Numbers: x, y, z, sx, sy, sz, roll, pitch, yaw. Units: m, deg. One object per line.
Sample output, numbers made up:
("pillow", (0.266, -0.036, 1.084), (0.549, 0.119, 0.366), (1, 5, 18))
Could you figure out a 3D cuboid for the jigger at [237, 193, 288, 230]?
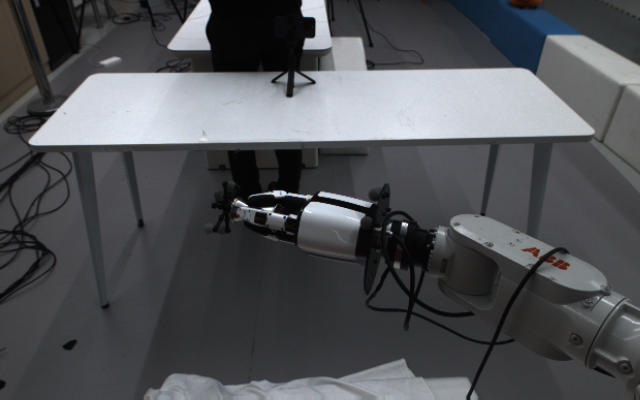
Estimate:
("jigger", (-0.090, 0.017, 0.726), (0.071, 0.043, 0.043), (11, 36, 16))
